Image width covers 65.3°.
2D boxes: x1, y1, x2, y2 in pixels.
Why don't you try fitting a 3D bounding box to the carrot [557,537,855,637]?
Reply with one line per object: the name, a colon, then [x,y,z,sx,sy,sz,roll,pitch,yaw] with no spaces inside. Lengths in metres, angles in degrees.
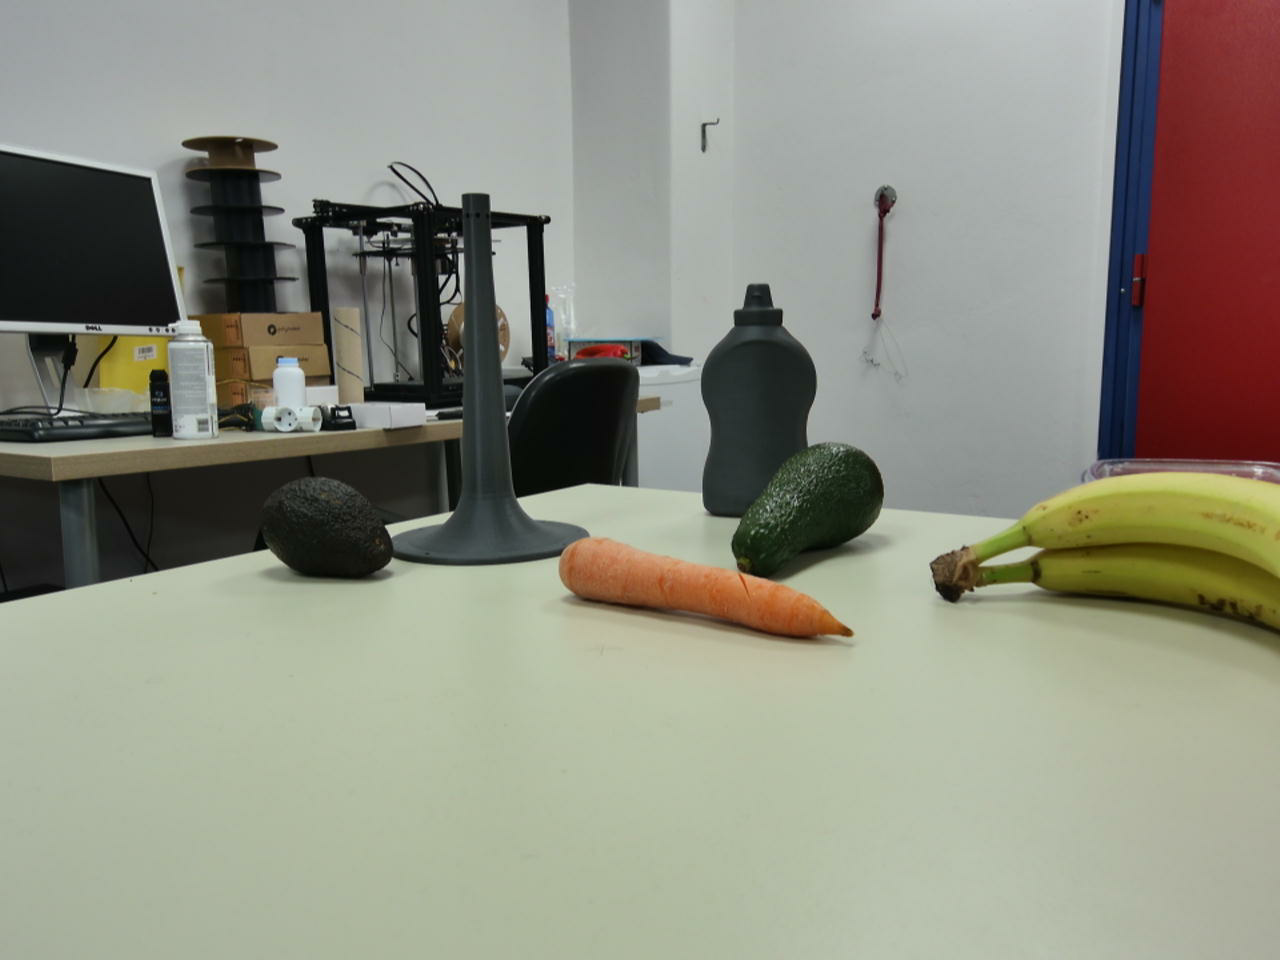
carrot: [0.033,0.061,0.582,0.196,0.041,0.039,4,7,35]
